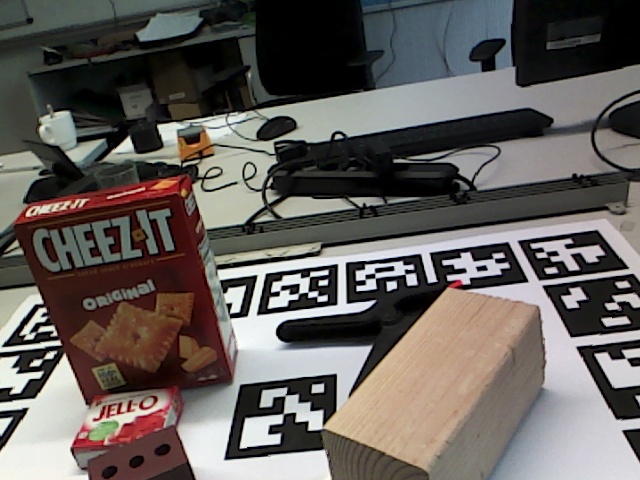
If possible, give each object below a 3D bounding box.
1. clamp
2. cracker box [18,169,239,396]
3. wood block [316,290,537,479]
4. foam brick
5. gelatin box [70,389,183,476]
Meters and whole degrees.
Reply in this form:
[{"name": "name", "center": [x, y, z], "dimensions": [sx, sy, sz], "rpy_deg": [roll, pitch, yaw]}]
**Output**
[{"name": "clamp", "center": [0.066, 0.091, 0.657], "dimensions": [0.202, 0.036, 0.166], "rpy_deg": [-24, 31, -21]}, {"name": "cracker box", "center": [-0.187, 0.049, 0.638], "dimensions": [0.164, 0.213, 0.072], "rpy_deg": [-9, 26, 2]}, {"name": "wood block", "center": [0.097, 0.137, 0.510], "dimensions": [0.090, 0.090, 0.205], "rpy_deg": [8, 31, 38]}, {"name": "foam brick", "center": [-0.148, 0.205, 0.513], "dimensions": [0.078, 0.051, 0.053], "rpy_deg": [-21, 30, -16]}, {"name": "gelatin box", "center": [-0.184, 0.184, 0.596], "dimensions": [0.089, 0.030, 0.073], "rpy_deg": [-9, 29, 5]}]
